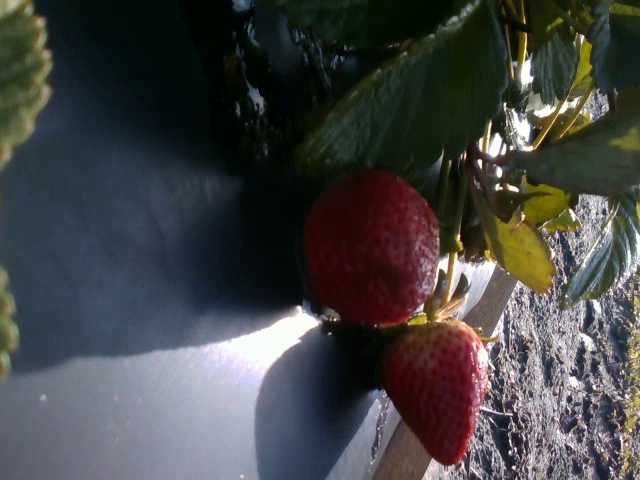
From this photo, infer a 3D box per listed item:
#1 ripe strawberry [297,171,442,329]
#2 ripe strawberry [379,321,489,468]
[{"bbox_3d":[0.017,0.004,0.164,0.039,0.048,0.054,21,17,-7],"label":"ripe strawberry"},{"bbox_3d":[0.044,0.053,0.207,0.039,0.053,0.043,-11,-17,6],"label":"ripe strawberry"}]
